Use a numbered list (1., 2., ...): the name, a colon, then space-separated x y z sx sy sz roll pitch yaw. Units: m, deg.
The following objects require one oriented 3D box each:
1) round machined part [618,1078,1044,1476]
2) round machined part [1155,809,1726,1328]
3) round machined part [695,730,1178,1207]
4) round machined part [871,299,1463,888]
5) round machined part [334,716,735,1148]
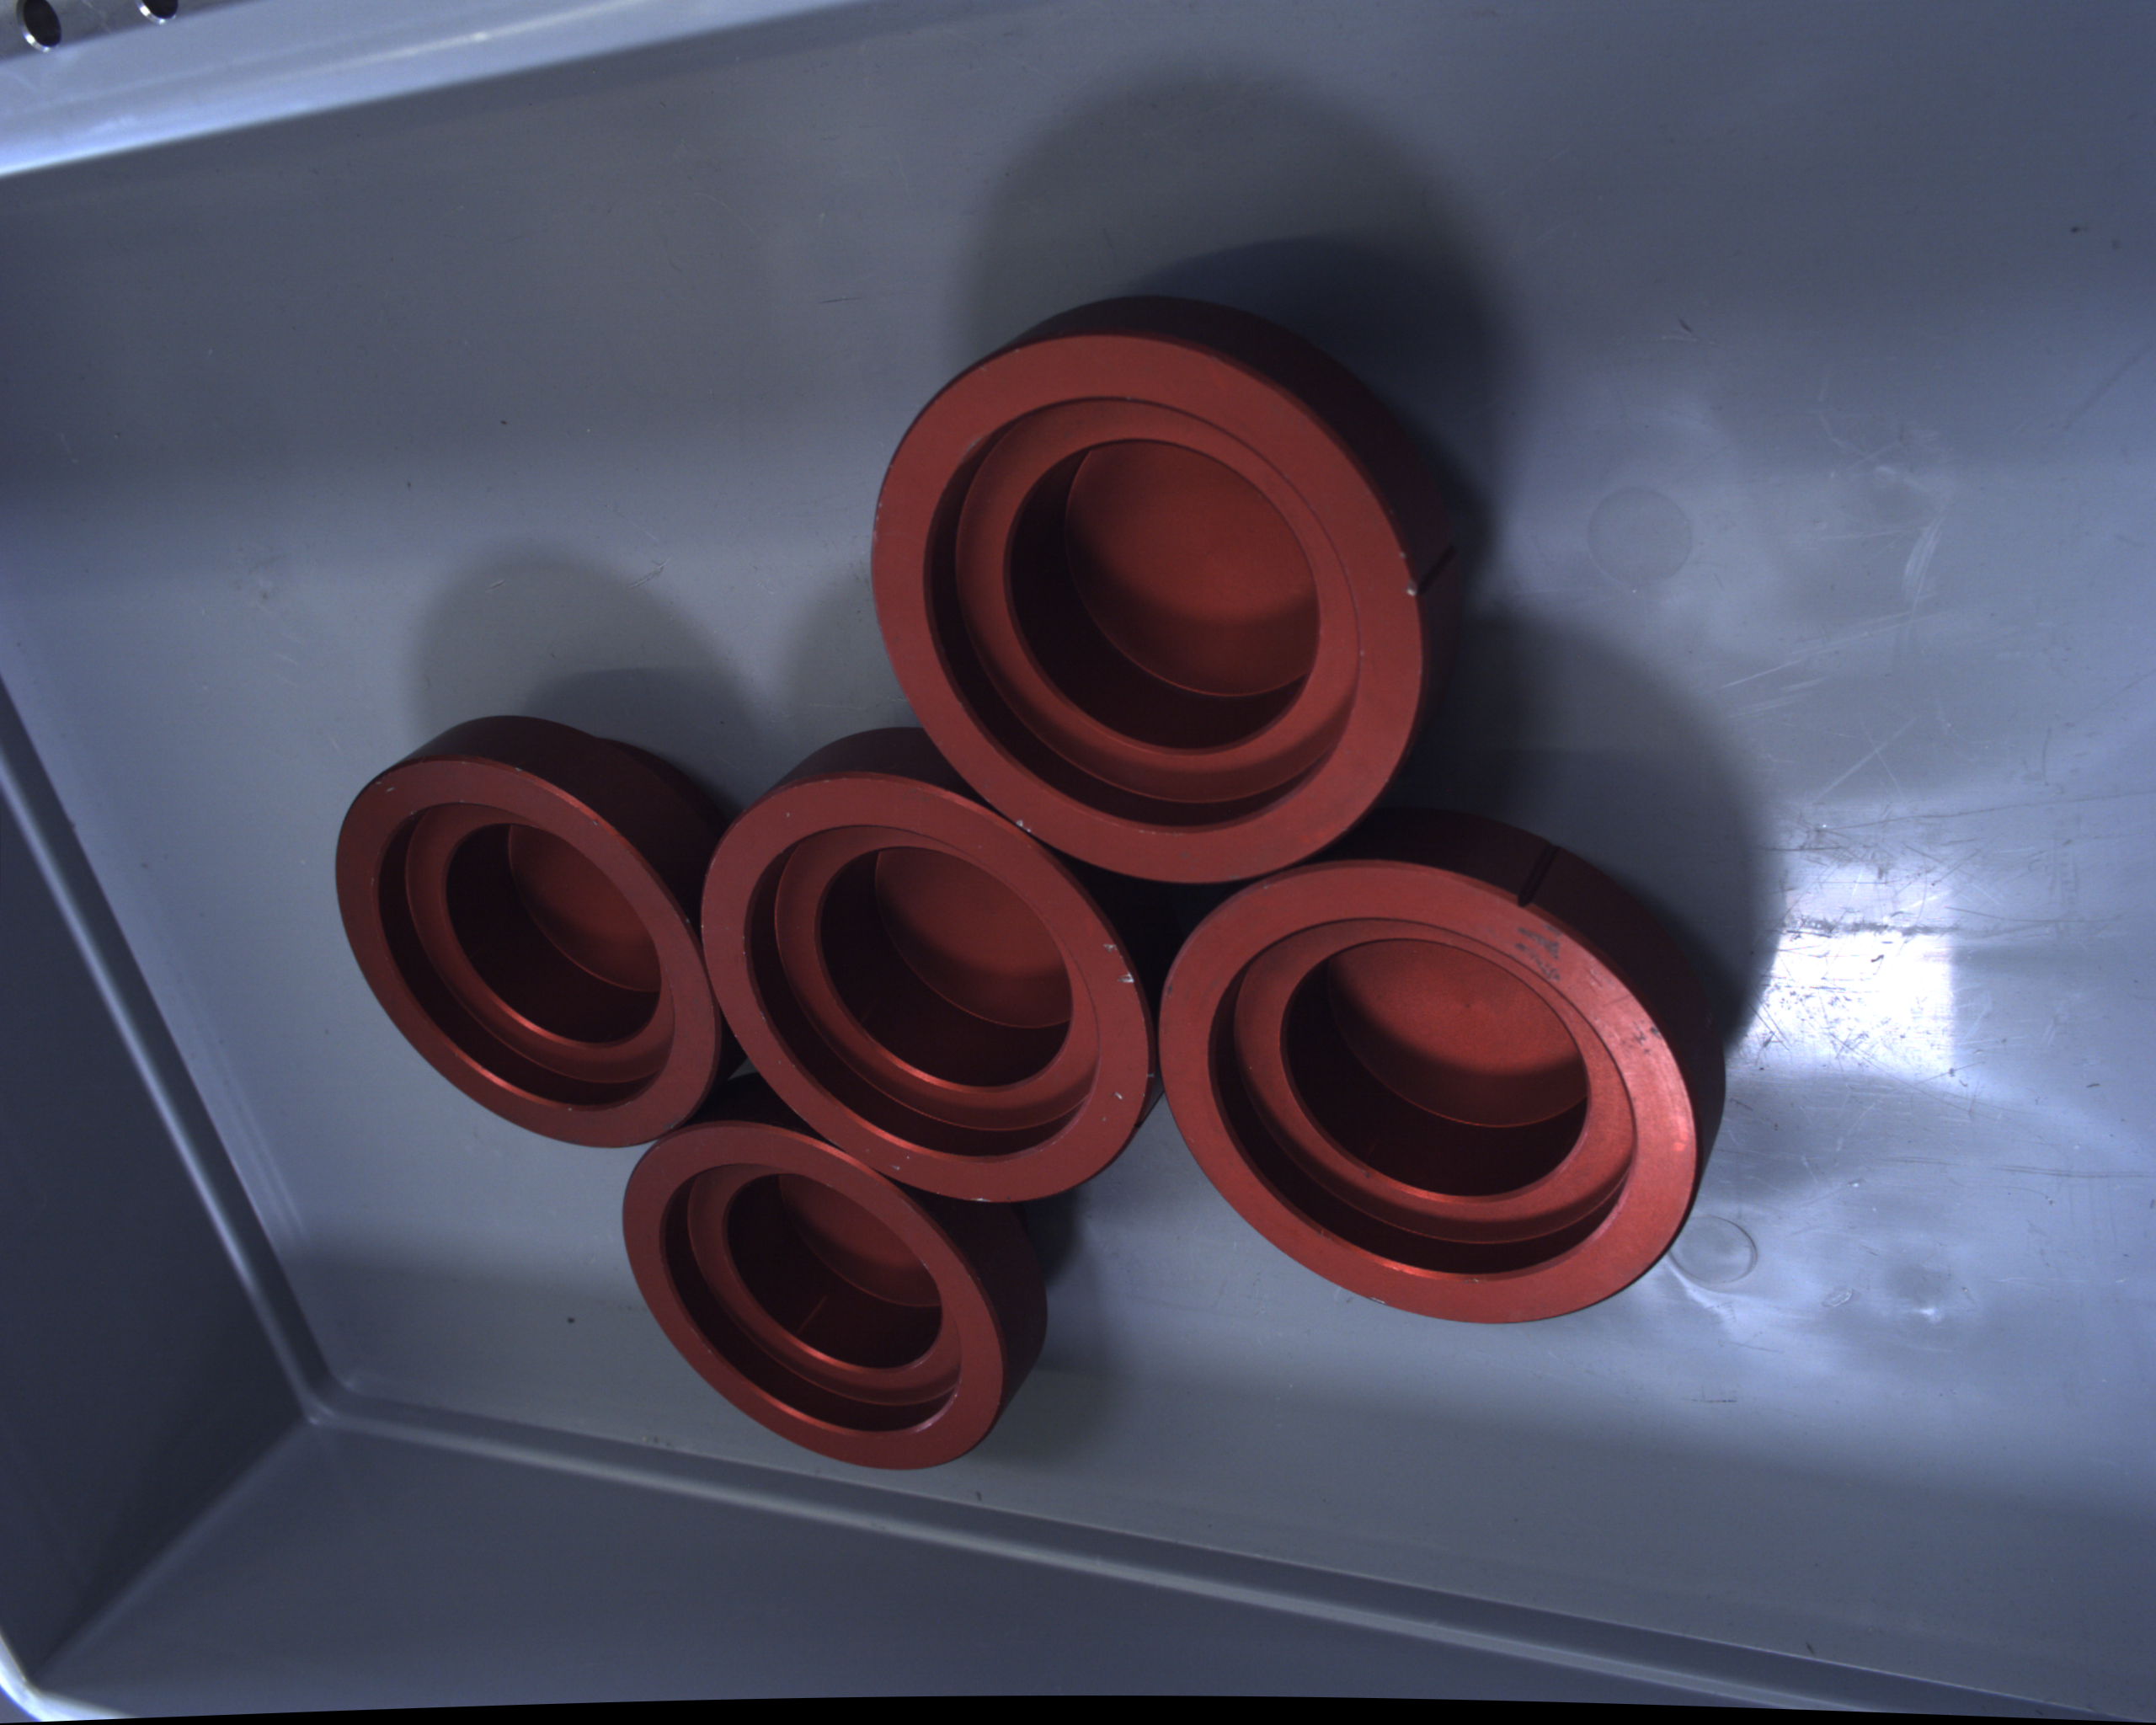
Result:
1. round machined part: -0.052 0.088 0.476 0.098 0.042 0.097 13 124 21
2. round machined part: 0.067 0.033 0.379 0.098 0.042 0.097 13 124 21
3. round machined part: -0.023 0.017 0.416 0.098 0.042 0.097 13 124 21
4. round machined part: 0.018 -0.048 0.356 0.098 0.042 0.097 13 124 21
5. round machined part: -0.111 0.011 0.460 0.098 0.042 0.097 13 124 21
